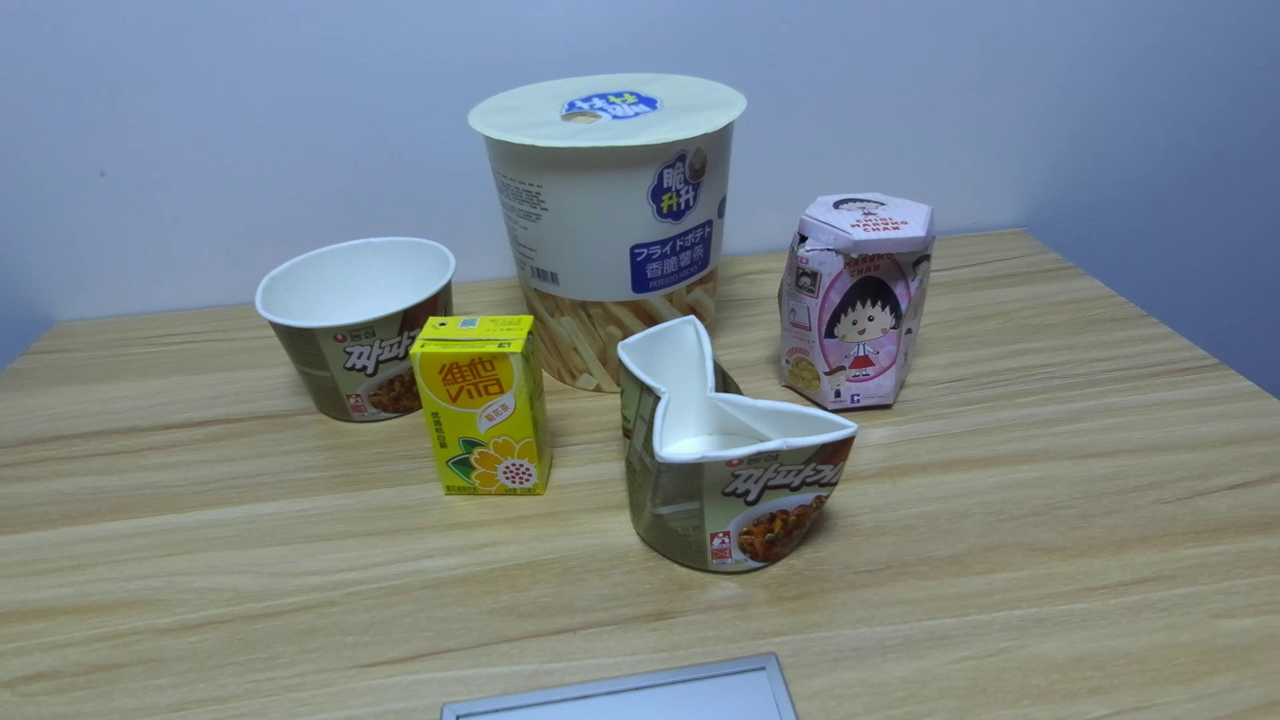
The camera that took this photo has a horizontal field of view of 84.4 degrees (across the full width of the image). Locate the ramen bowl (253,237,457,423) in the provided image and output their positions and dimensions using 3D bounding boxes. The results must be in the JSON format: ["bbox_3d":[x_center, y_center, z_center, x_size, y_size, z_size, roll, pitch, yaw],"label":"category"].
[{"bbox_3d":[-0.202,-0.022,0.536,0.140,0.095,0.140,-2,34,2],"label":"ramen bowl"}]

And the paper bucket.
[{"bbox_3d":[-0.019,-0.094,0.535,0.198,0.195,0.198,-2,33,1],"label":"paper bucket"}]

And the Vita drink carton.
[{"bbox_3d":[-0.093,0.029,0.433,0.066,0.109,0.043,0,33,3],"label":"Vita drink carton"}]

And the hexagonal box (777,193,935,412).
[{"bbox_3d":[0.148,-0.041,0.497,0.091,0.134,0.090,18,35,30],"label":"hexagonal box"}]

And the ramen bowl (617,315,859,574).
[{"bbox_3d":[0.045,0.044,0.406,0.112,0.093,0.128,-10,35,-10],"label":"ramen bowl"}]
